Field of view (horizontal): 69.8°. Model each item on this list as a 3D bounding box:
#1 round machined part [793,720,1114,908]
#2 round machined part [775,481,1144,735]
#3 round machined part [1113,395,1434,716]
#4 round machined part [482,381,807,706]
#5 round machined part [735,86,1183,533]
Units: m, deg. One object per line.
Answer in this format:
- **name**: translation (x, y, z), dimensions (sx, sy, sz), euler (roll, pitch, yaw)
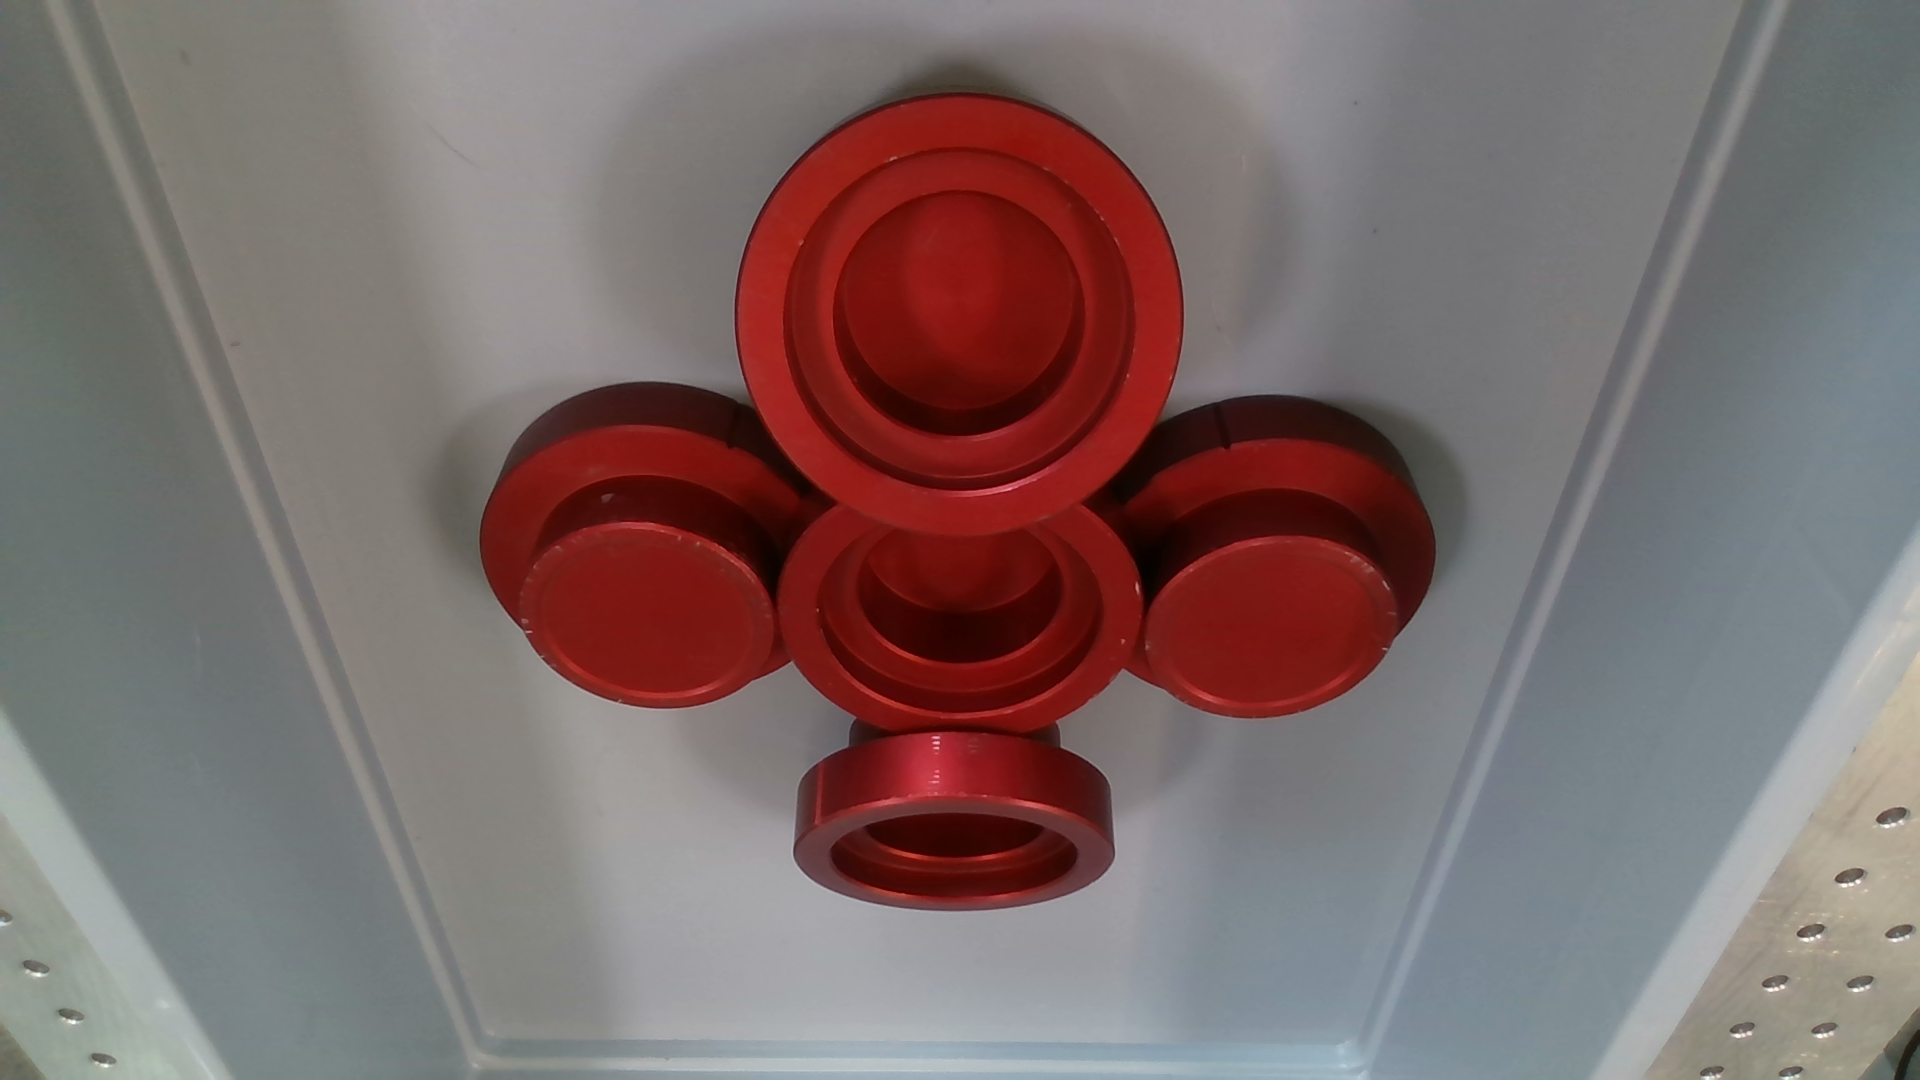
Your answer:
- **round machined part**: translation (-0.002, 0.079, 0.432), dimensions (0.098, 0.042, 0.098), euler (0, 147, 0)
- **round machined part**: translation (0.000, 0.007, 0.382), dimensions (0.098, 0.042, 0.098), euler (0, 130, 0)
- **round machined part**: translation (0.083, 0.011, 0.386), dimensions (0.098, 0.042, 0.098), euler (0, 130, 0)
- **round machined part**: translation (-0.083, 0.008, 0.383), dimensions (0.098, 0.042, 0.098), euler (0, 130, 0)
- **round machined part**: translation (0.000, -0.055, 0.320), dimensions (0.098, 0.042, 0.098), euler (0, 113, 0)
